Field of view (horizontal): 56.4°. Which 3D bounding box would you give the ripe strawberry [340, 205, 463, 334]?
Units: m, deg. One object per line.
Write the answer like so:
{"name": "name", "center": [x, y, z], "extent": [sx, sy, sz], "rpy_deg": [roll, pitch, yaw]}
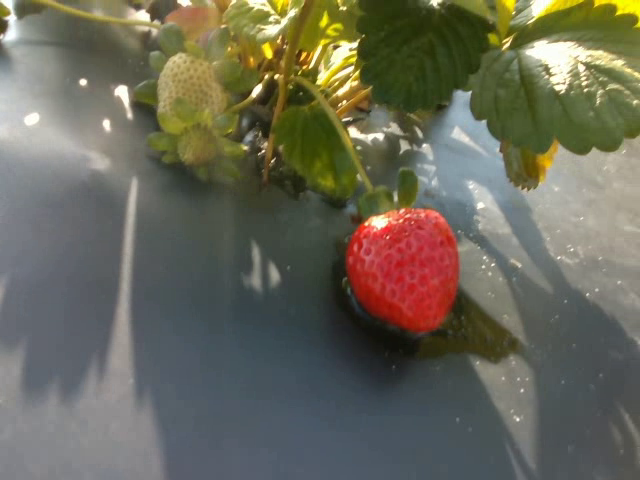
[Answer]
{"name": "ripe strawberry", "center": [0.023, 0.010, 0.140], "extent": [0.030, 0.033, 0.045], "rpy_deg": [-18, 33, 14]}
